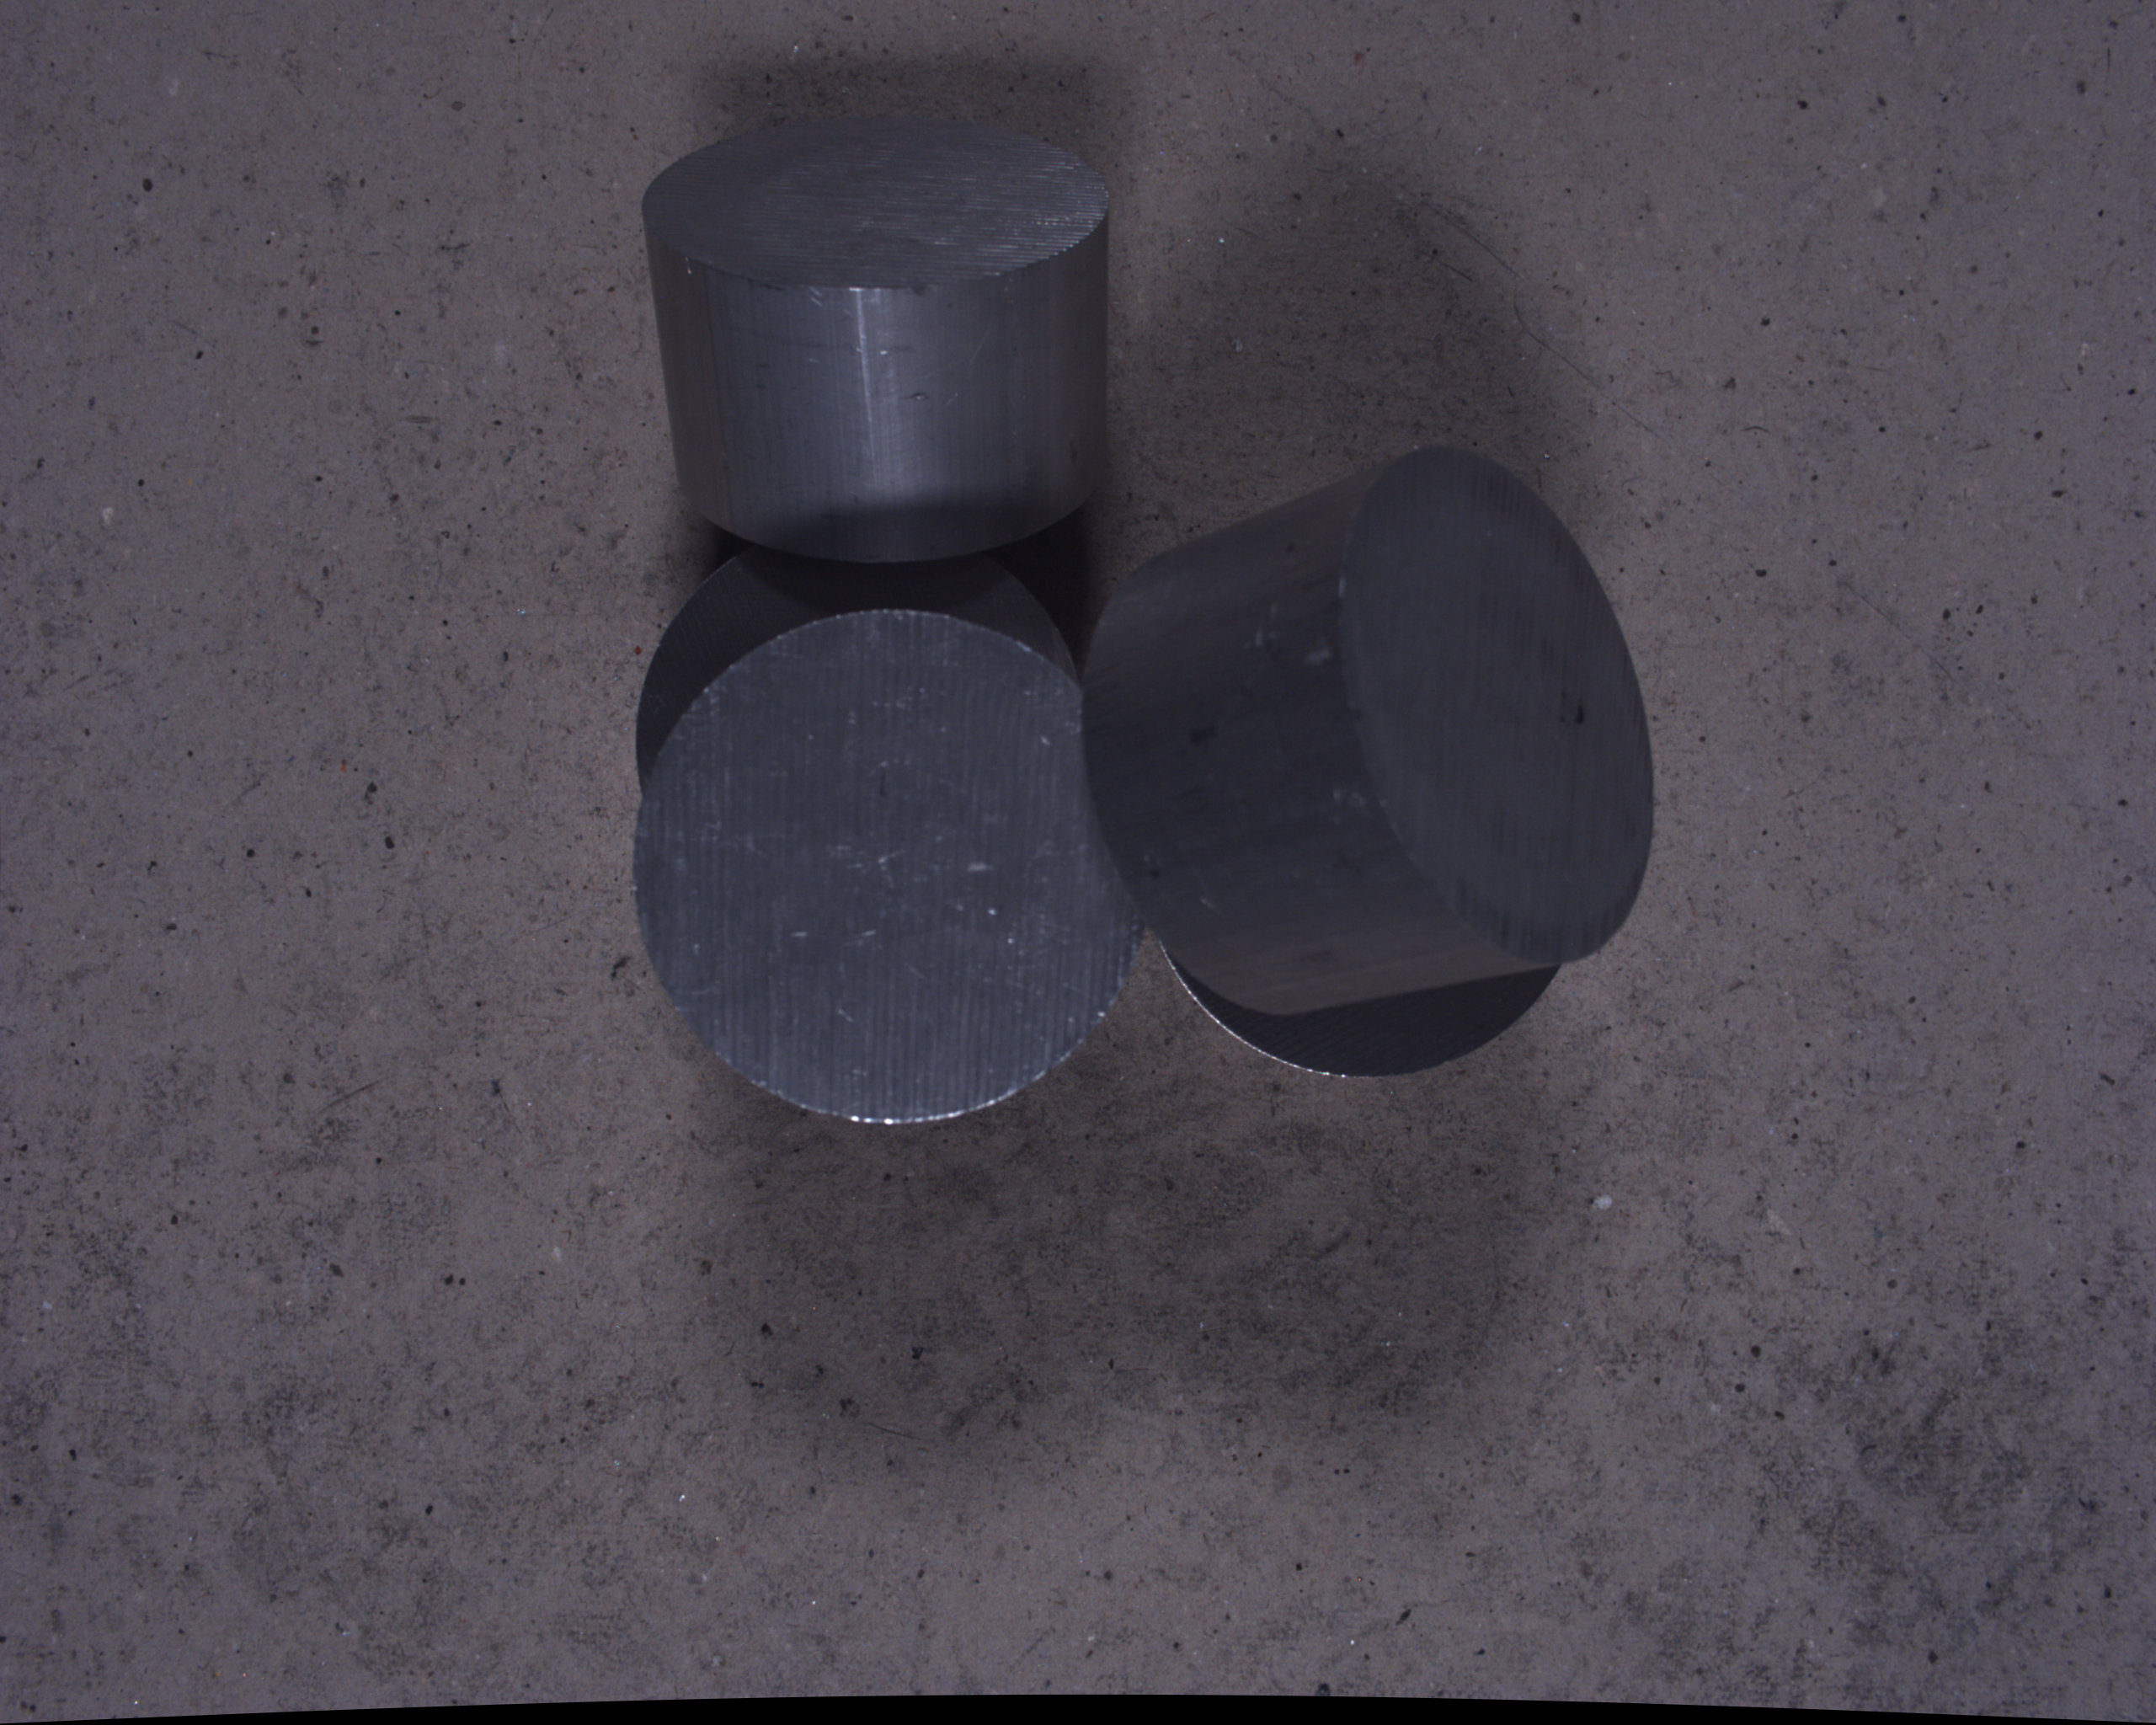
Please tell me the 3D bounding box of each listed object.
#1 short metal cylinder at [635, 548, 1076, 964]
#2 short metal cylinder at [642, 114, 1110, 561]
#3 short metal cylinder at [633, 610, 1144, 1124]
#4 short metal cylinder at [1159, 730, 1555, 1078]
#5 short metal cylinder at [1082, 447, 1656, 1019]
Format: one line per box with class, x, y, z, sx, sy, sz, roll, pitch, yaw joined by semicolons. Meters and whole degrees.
short metal cylinder;-0.039;-0.022;0.398;0.081;0.050;0.079;0;90;-1
short metal cylinder;-0.035;-0.097;0.377;0.081;0.080;0.050;0;129;-1
short metal cylinder;-0.029;0.001;0.348;0.081;0.050;0.079;0;90;-1
short metal cylinder;0.052;-0.001;0.399;0.081;0.050;0.079;0;90;-1
short metal cylinder;0.047;-0.019;0.327;0.050;0.081;0.080;-17;90;42
